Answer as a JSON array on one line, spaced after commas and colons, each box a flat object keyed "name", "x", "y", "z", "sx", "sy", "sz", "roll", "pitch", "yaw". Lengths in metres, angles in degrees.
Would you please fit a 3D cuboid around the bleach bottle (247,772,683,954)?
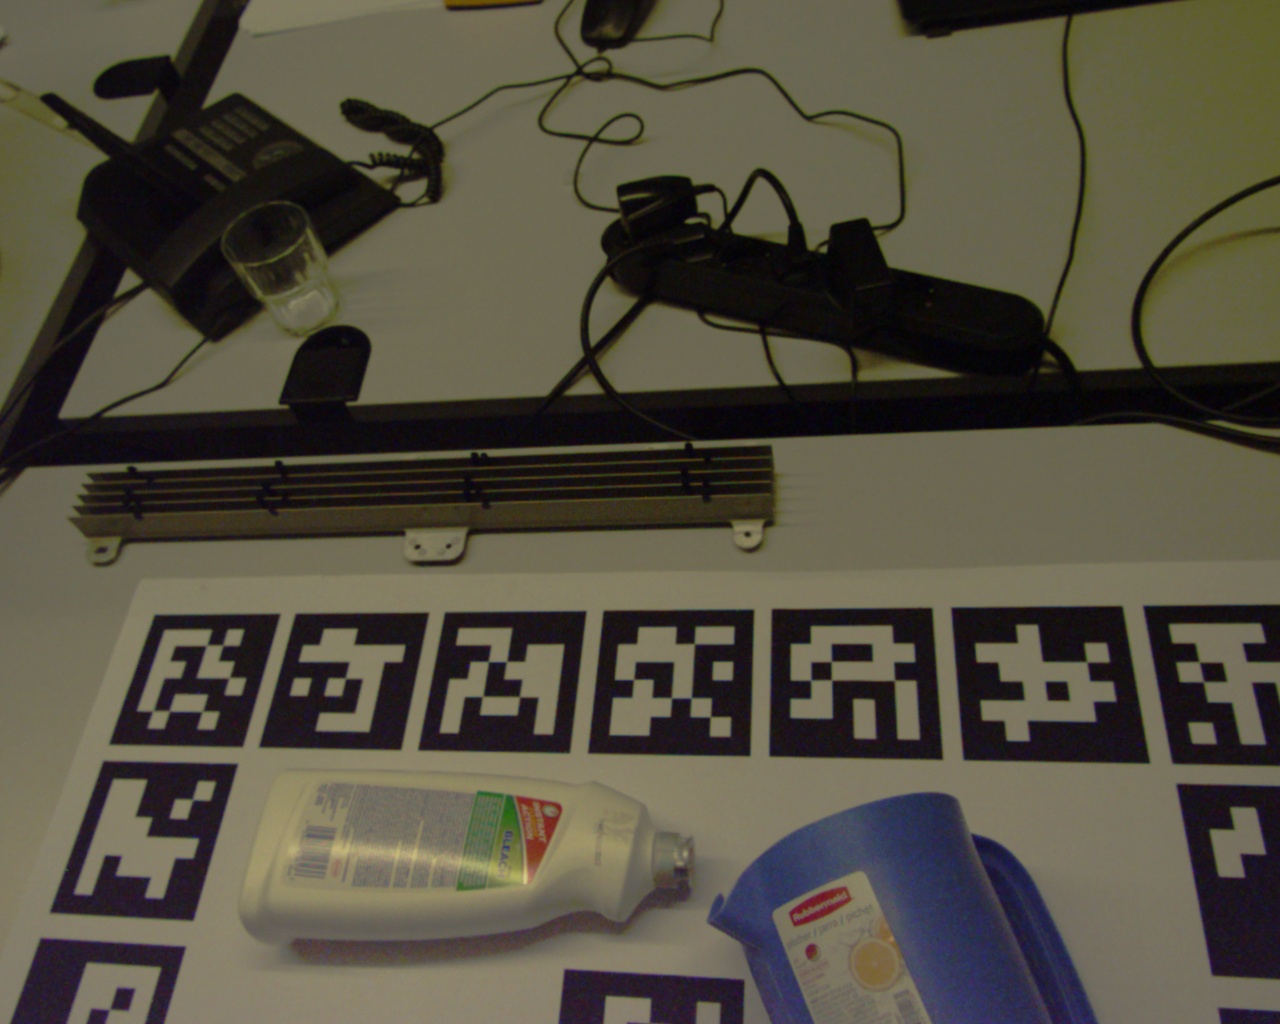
[{"name": "bleach bottle", "x": -0.101, "y": 0.209, "z": 0.684, "sx": 0.252, "sy": 0.067, "sz": 0.103, "roll": -4, "pitch": 61, "yaw": 8}]

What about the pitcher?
[{"name": "pitcher", "x": 0.146, "y": 0.282, "z": 0.561, "sx": 0.186, "sy": 0.134, "sz": 0.244, "roll": -3, "pitch": 55, "yaw": -32}]
